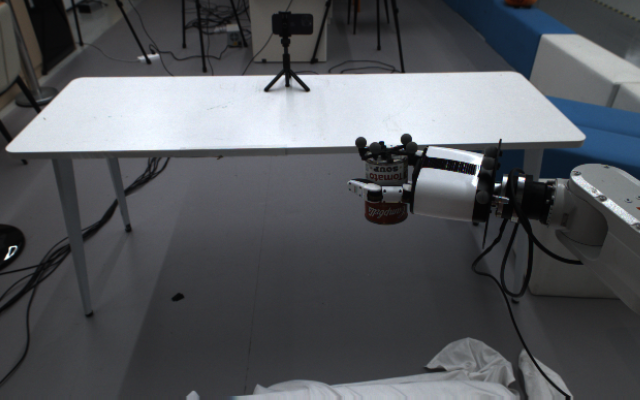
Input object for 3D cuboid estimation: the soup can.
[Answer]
[{"bbox_3d":[0.102,-0.023,0.741,0.067,0.101,0.067,-3,25,2],"label":"soup can"}]
